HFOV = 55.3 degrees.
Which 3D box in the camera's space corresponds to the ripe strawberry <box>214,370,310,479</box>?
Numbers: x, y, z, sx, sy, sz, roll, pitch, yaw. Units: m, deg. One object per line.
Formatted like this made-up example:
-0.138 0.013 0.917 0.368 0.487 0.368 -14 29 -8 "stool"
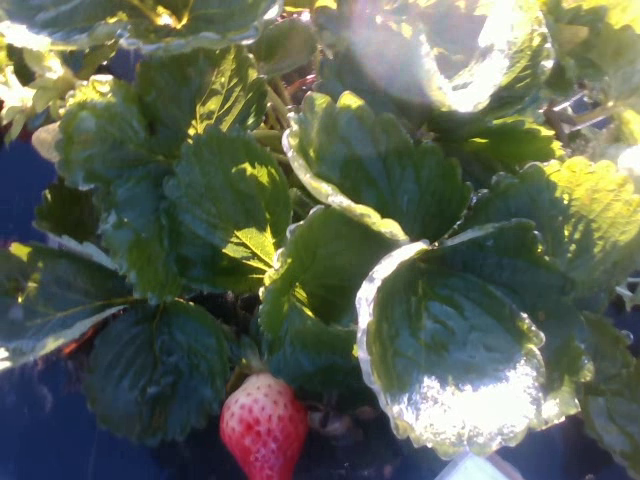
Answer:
-0.030 0.094 0.271 0.040 0.065 0.040 -10 -7 13 "ripe strawberry"
